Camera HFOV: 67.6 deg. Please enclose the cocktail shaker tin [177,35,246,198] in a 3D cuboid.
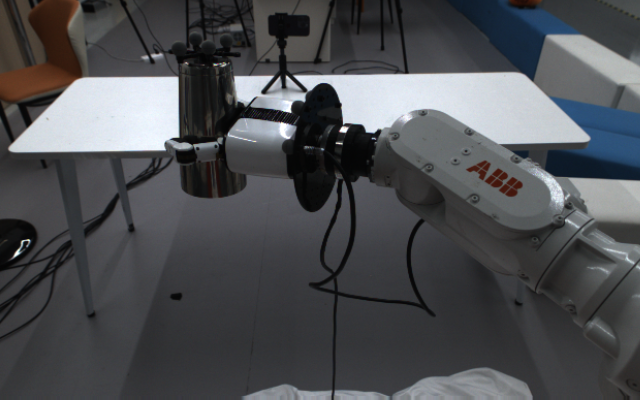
[{"bbox_3d":[-0.144,-0.099,0.640,0.093,0.170,0.093,2,28,-1],"label":"cocktail shaker tin"}]
